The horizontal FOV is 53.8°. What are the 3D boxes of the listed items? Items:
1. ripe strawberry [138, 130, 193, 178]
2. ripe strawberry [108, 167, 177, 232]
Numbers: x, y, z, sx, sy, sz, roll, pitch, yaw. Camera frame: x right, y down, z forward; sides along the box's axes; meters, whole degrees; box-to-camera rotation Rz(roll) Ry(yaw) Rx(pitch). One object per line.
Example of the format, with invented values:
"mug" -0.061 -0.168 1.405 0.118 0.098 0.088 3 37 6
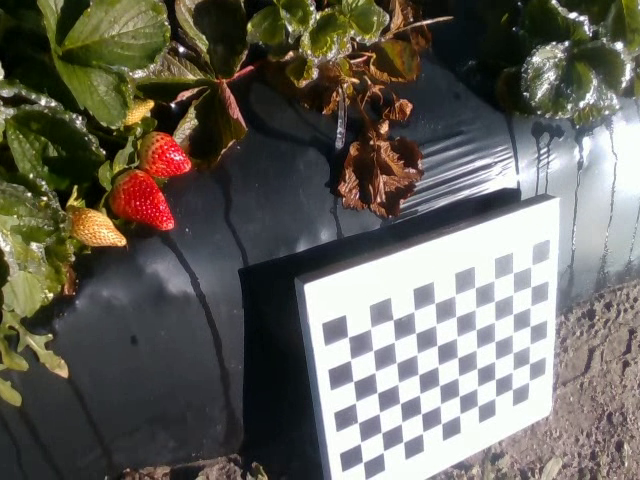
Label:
"ripe strawberry" -0.108 -0.059 0.441 0.041 0.036 0.030 12 12 -26
"ripe strawberry" -0.117 -0.022 0.429 0.051 0.037 0.040 38 -3 4
